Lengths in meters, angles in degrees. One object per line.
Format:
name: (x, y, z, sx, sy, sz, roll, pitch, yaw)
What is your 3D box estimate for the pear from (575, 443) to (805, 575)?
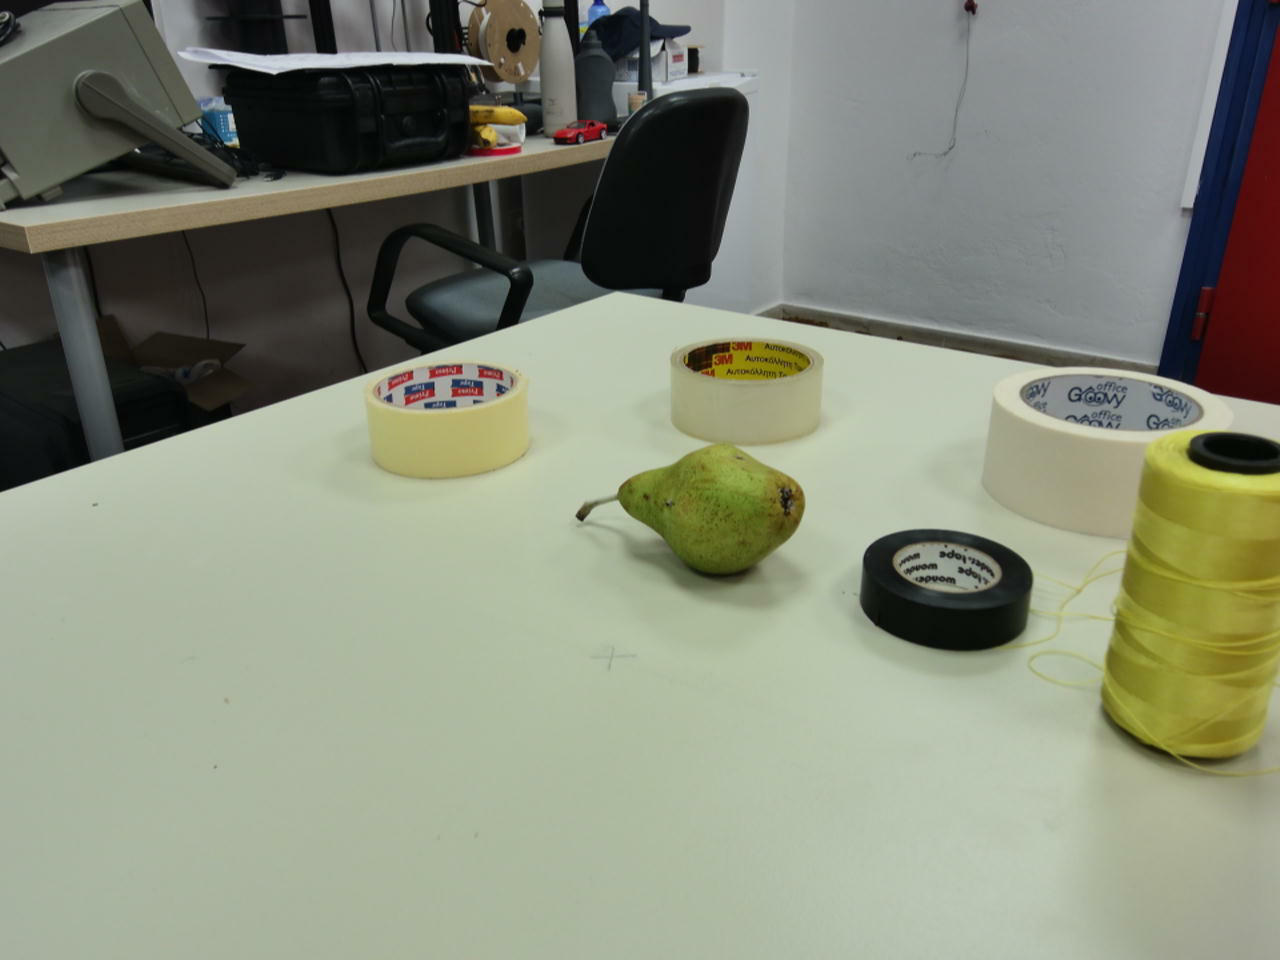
pear: (0.023, 0.008, 0.452, 0.056, 0.056, 0.111, -16, 27, -33)
